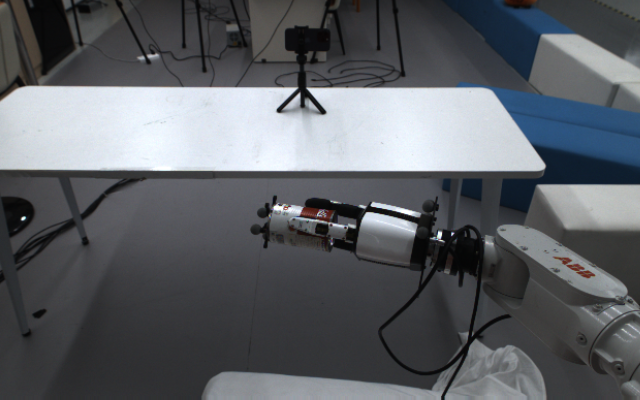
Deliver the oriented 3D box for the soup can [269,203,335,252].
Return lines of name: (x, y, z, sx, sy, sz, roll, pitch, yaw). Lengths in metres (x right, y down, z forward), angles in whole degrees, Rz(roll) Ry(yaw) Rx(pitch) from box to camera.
soup can: (-0.026, 0.044, 0.783, 0.101, 0.067, 0.067, 7, 35, 11)
